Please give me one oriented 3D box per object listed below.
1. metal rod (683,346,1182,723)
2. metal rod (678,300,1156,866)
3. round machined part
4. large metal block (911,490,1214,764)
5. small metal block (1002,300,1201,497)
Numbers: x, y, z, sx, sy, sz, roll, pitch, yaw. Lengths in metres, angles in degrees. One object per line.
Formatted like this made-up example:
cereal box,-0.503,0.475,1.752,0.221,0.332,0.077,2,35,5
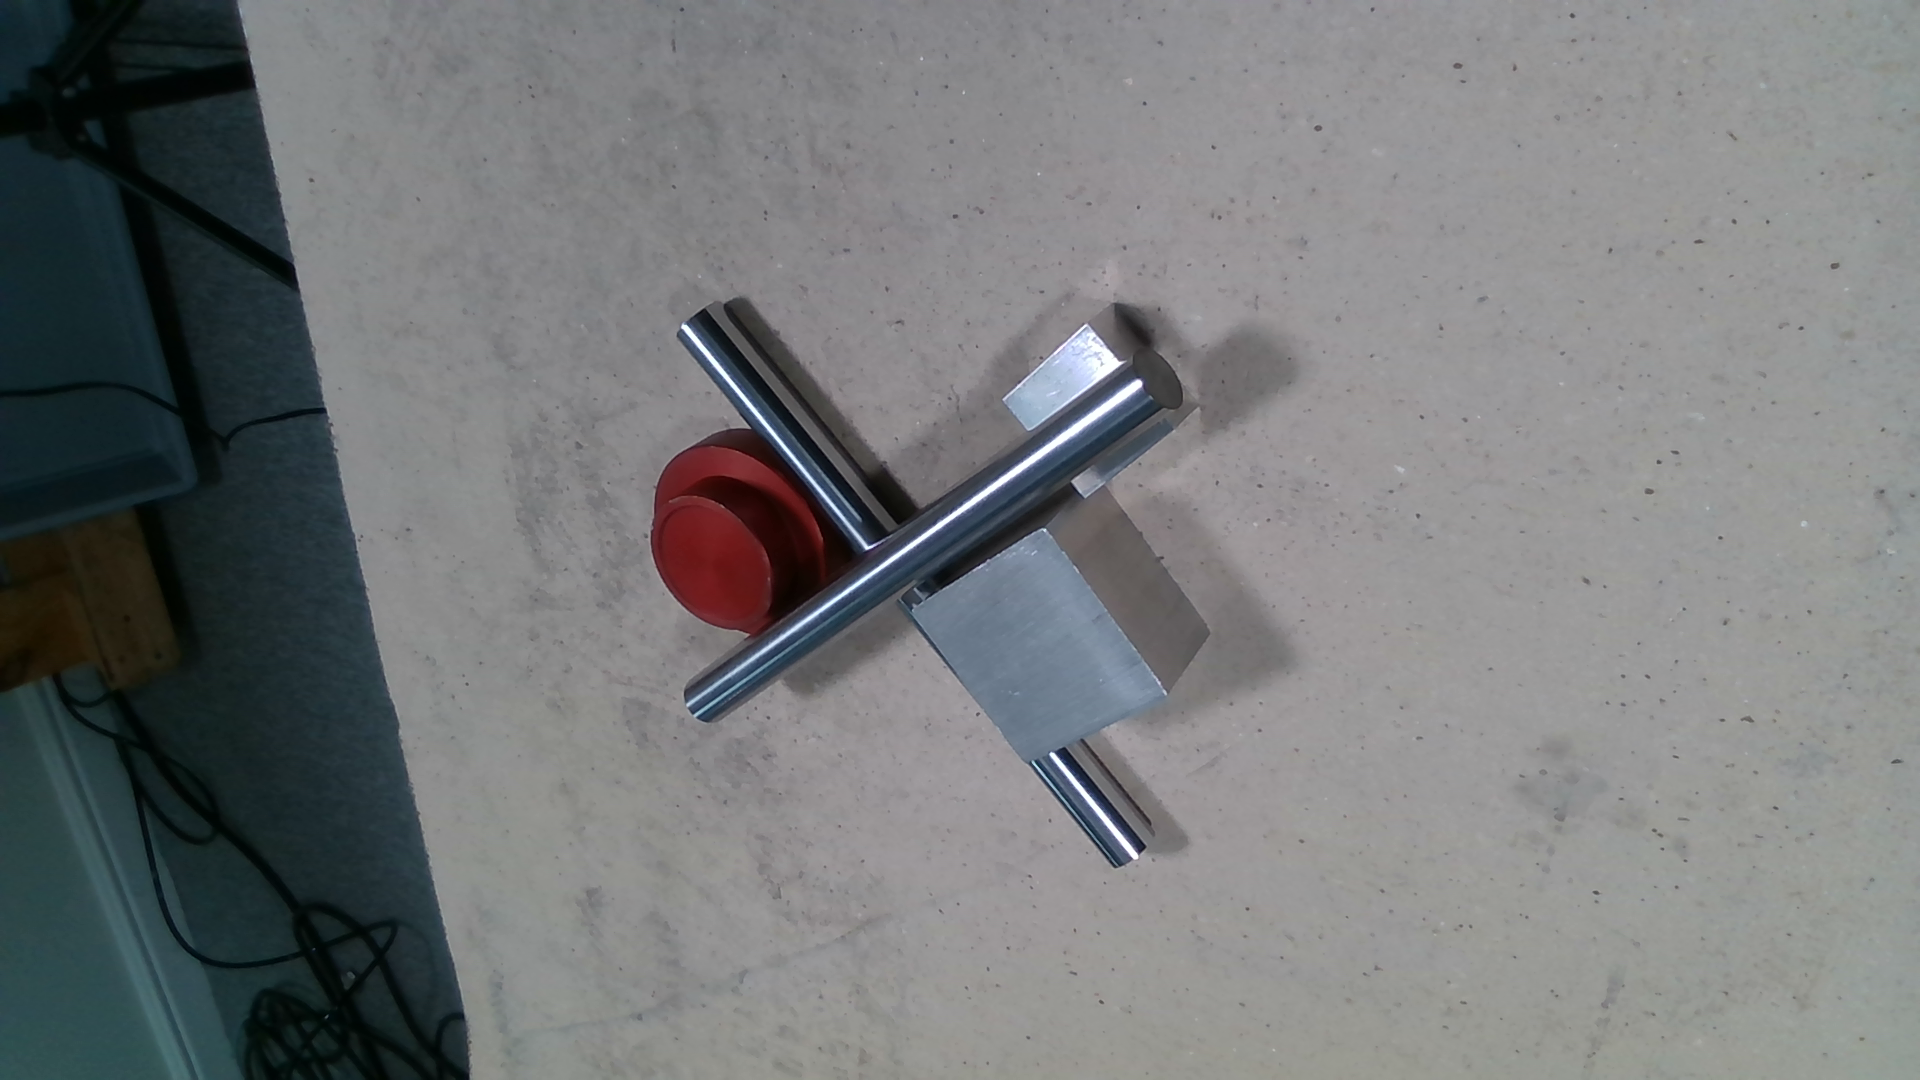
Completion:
metal rod,-0.028,0.010,0.570,0.301,0.025,0.025,-35,94,39
metal rod,-0.018,0.020,0.604,0.300,0.025,0.025,51,129,-2
round machined part,-0.103,0.002,0.633,0.098,0.042,0.098,14,122,25
large metal block,0.042,0.033,0.558,0.080,0.050,0.080,-33,96,39
small metal block,0.053,-0.053,0.520,0.050,0.025,0.050,50,129,-1
